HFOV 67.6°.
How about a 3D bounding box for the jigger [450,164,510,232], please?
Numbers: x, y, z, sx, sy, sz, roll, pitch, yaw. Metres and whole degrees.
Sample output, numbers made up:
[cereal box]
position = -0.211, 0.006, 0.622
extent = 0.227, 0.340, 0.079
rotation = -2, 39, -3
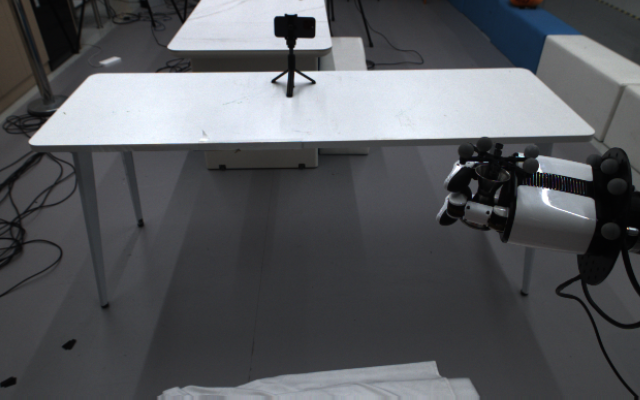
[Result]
[jigger]
position = 0.201, -0.004, 0.586
extent = 0.043, 0.071, 0.043
rotation = 4, 31, -2
